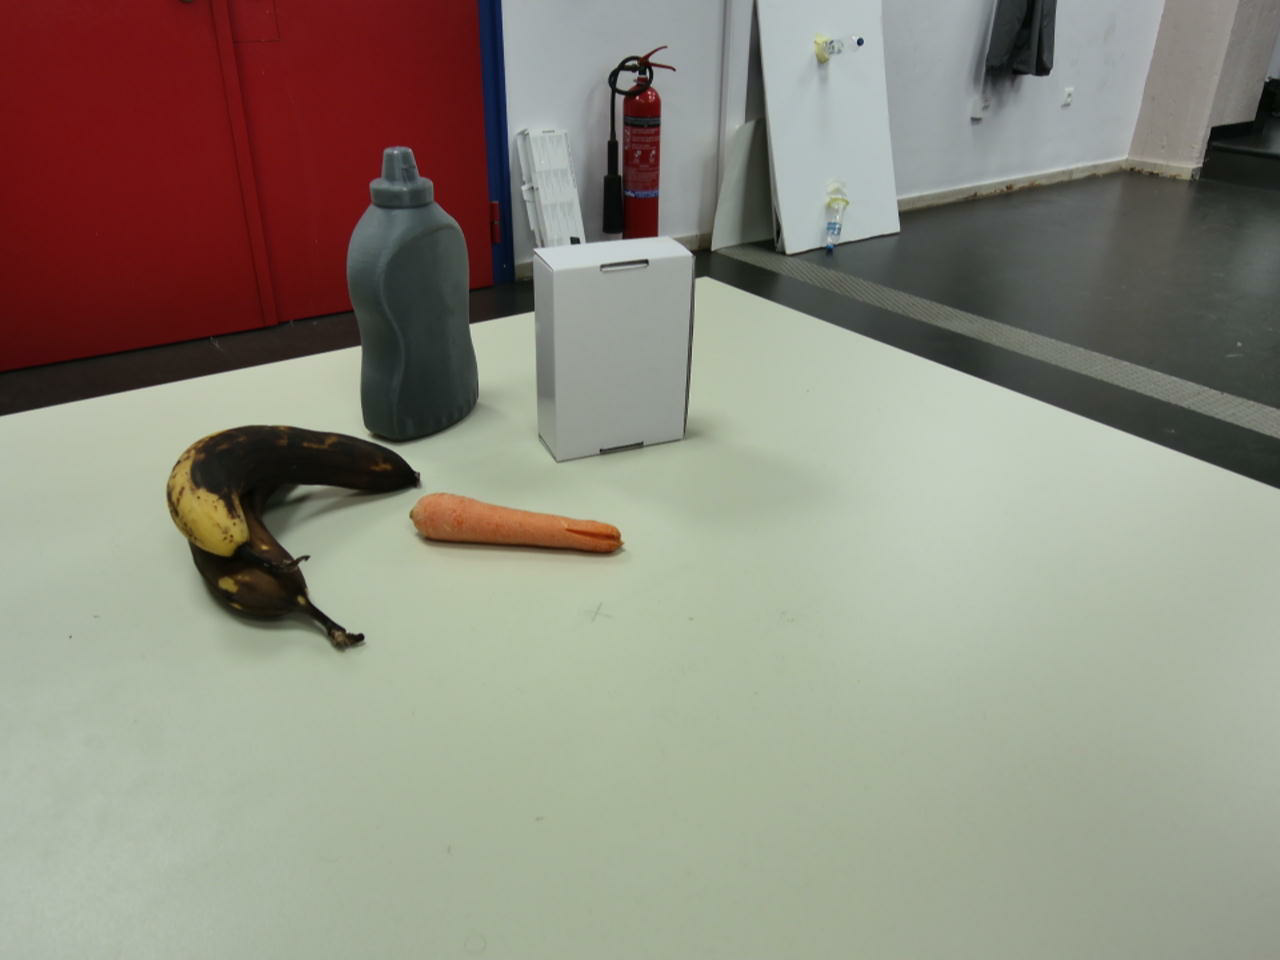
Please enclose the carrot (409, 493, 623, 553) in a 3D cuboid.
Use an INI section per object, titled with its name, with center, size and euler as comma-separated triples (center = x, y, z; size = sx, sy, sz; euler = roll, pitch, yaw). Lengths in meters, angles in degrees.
[carrot]
center = -0.078, 0.027, 0.622
size = 0.136, 0.032, 0.030
euler = 4, 26, 8
